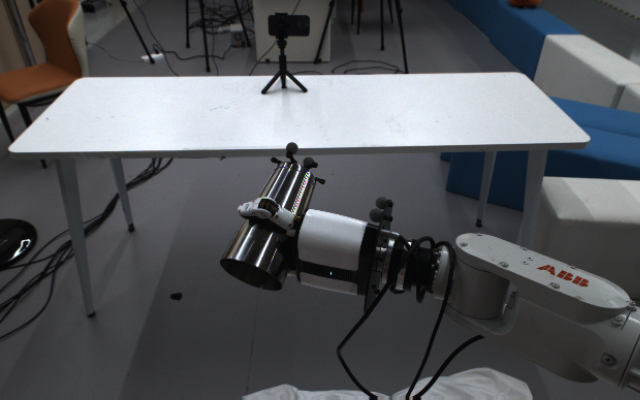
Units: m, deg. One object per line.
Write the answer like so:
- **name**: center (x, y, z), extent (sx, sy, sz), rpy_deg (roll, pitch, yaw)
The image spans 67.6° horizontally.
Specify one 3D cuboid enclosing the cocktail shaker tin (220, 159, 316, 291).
- **cocktail shaker tin**: center (-0.066, 0.033, 0.687), extent (0.093, 0.093, 0.170), rpy_deg (14, 61, 17)
